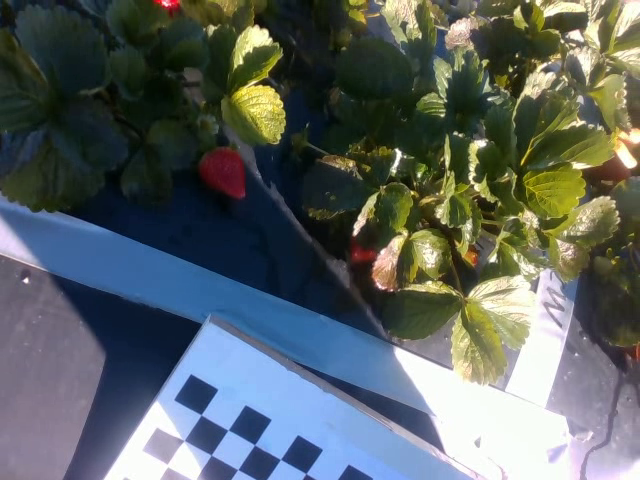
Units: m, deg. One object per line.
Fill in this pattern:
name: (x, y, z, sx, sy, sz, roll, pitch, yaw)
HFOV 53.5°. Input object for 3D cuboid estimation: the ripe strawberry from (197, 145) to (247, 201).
ripe strawberry: (-0.081, -0.056, 0.539, 0.045, 0.059, 0.042, -29, -6, 1)
